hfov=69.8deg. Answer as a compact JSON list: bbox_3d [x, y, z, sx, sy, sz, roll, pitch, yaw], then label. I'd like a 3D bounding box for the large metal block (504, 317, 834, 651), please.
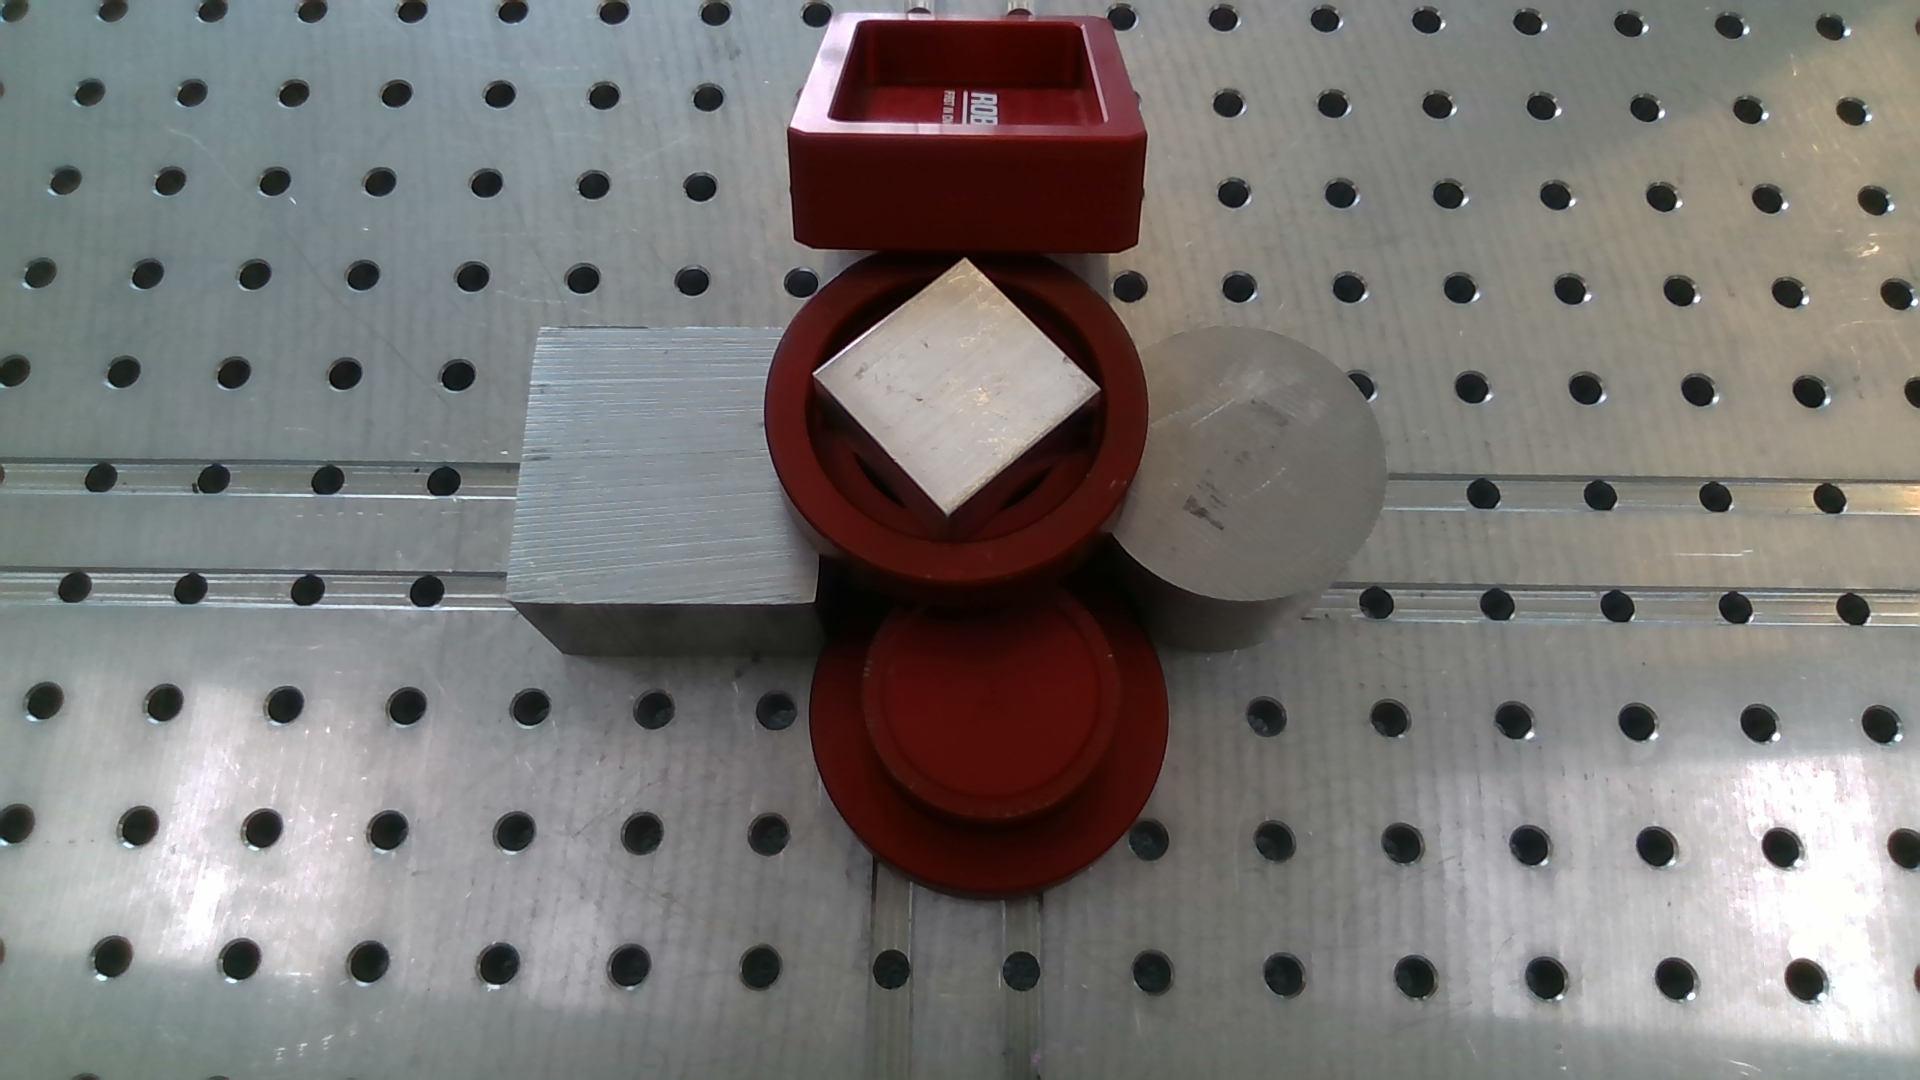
[{"bbox_3d":[-0.076,-0.014,0.387,0.080,0.050,0.080,1,70,0],"label":"large metal block"}]

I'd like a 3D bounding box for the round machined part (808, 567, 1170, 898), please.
[{"bbox_3d":[0.008,0.045,0.372,0.098,0.042,0.098,0,70,0],"label":"round machined part"}]

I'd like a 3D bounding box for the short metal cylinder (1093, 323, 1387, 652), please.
[{"bbox_3d":[0.073,-0.014,0.389,0.080,0.050,0.080,0,70,0],"label":"short metal cylinder"}]

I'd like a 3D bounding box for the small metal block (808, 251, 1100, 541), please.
[{"bbox_3d":[-0.001,-0.035,0.345,0.050,0.025,0.050,-40,75,-13],"label":"small metal block"}]

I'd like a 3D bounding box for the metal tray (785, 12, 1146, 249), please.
[{"bbox_3d":[0.002,-0.123,0.401,0.090,0.030,0.130,1,33,0],"label":"metal tray"}]

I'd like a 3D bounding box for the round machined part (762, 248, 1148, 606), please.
[{"bbox_3d":[-0.001,-0.028,0.368,0.098,0.042,0.098,0,70,0],"label":"round machined part"}]
